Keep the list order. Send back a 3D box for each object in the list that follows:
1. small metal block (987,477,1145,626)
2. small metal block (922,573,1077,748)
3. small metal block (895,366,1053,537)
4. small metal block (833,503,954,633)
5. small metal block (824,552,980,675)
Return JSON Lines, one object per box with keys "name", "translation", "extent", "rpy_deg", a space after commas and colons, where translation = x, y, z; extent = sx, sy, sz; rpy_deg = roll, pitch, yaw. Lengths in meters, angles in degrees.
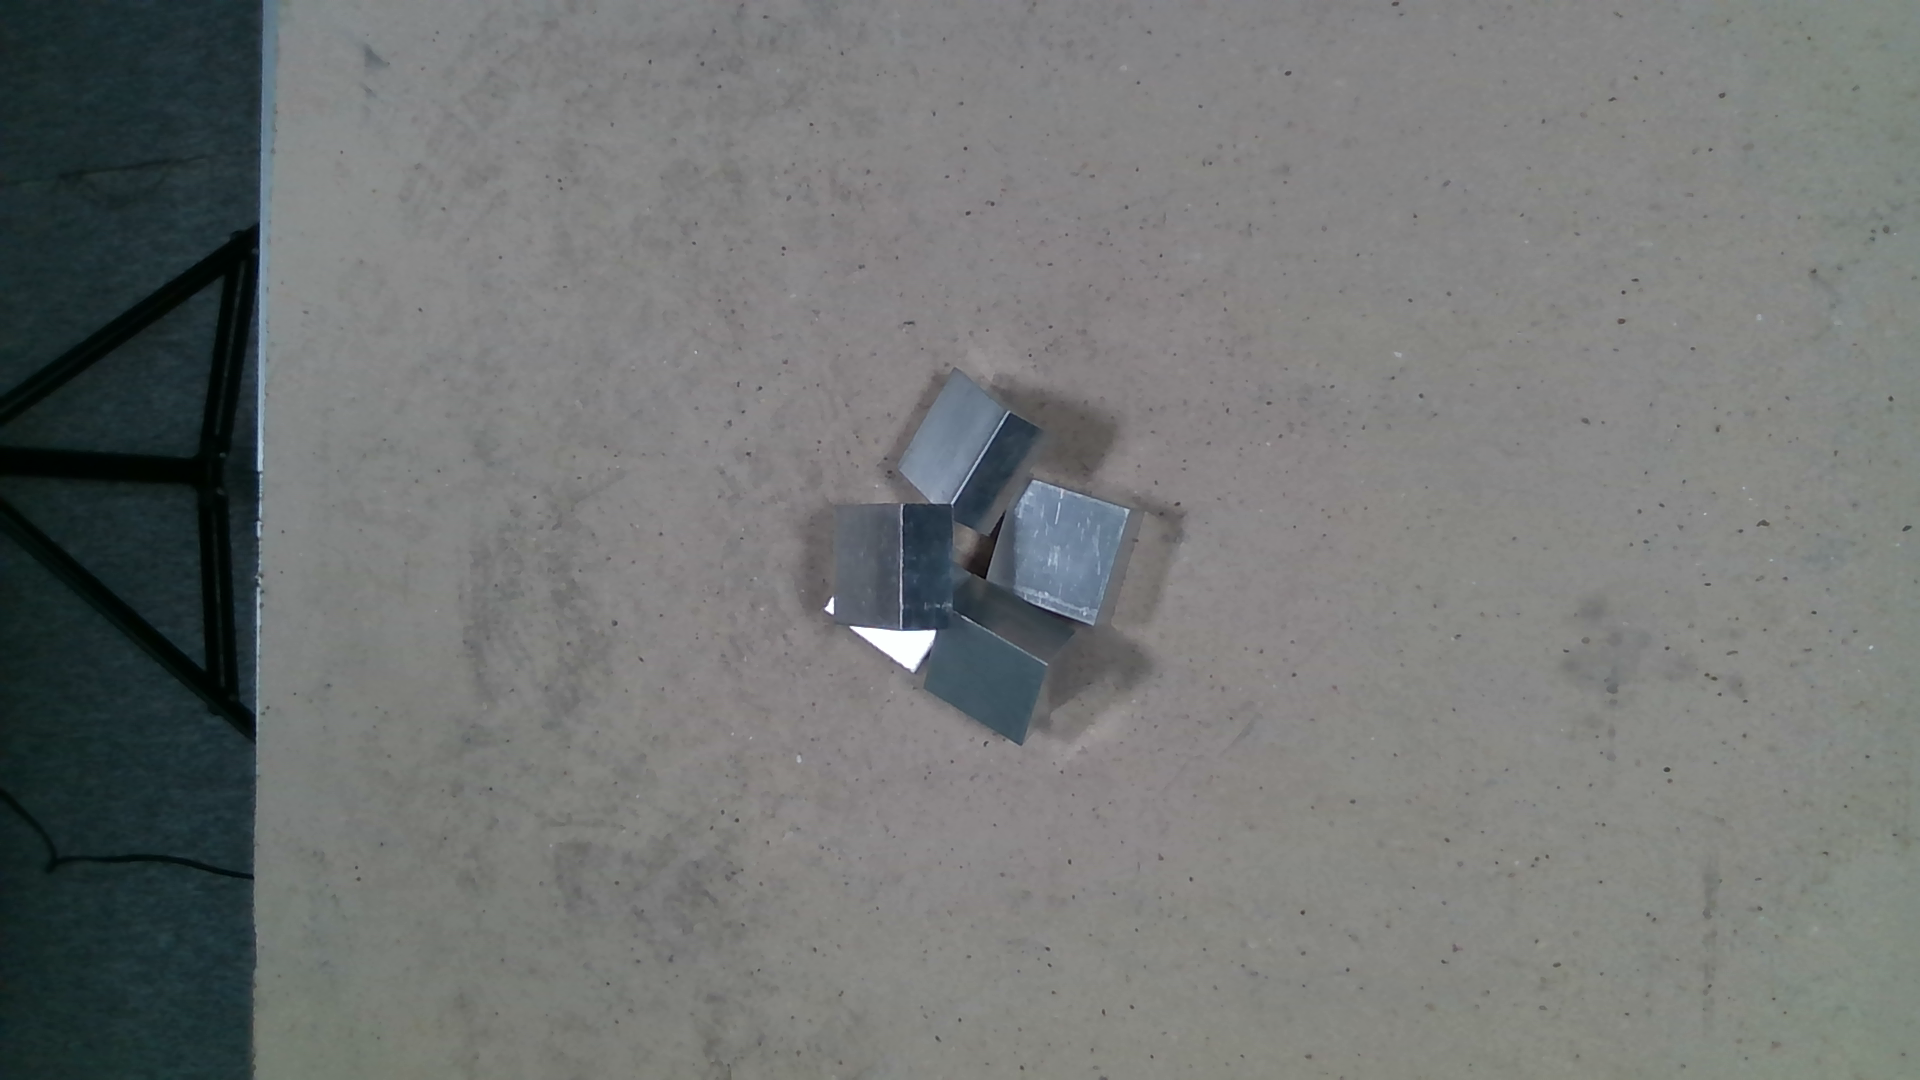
{"name": "small metal block", "translation": [0.043, 0.003, 0.570], "extent": [0.050, 0.025, 0.050], "rpy_deg": [18, 97, 19]}
{"name": "small metal block", "translation": [0.015, 0.050, 0.569], "extent": [0.050, 0.025, 0.050], "rpy_deg": [29, 133, 18]}
{"name": "small metal block", "translation": [0.005, -0.037, 0.571], "extent": [0.050, 0.025, 0.050], "rpy_deg": [-59, 37, 12]}
{"name": "small metal block", "translation": [-0.028, 0.011, 0.557], "extent": [0.050, 0.025, 0.050], "rpy_deg": [1, 91, 53]}
{"name": "small metal block", "translation": [-0.022, 0.022, 0.595], "extent": [0.050, 0.025, 0.050], "rpy_deg": [34, 102, 17]}
